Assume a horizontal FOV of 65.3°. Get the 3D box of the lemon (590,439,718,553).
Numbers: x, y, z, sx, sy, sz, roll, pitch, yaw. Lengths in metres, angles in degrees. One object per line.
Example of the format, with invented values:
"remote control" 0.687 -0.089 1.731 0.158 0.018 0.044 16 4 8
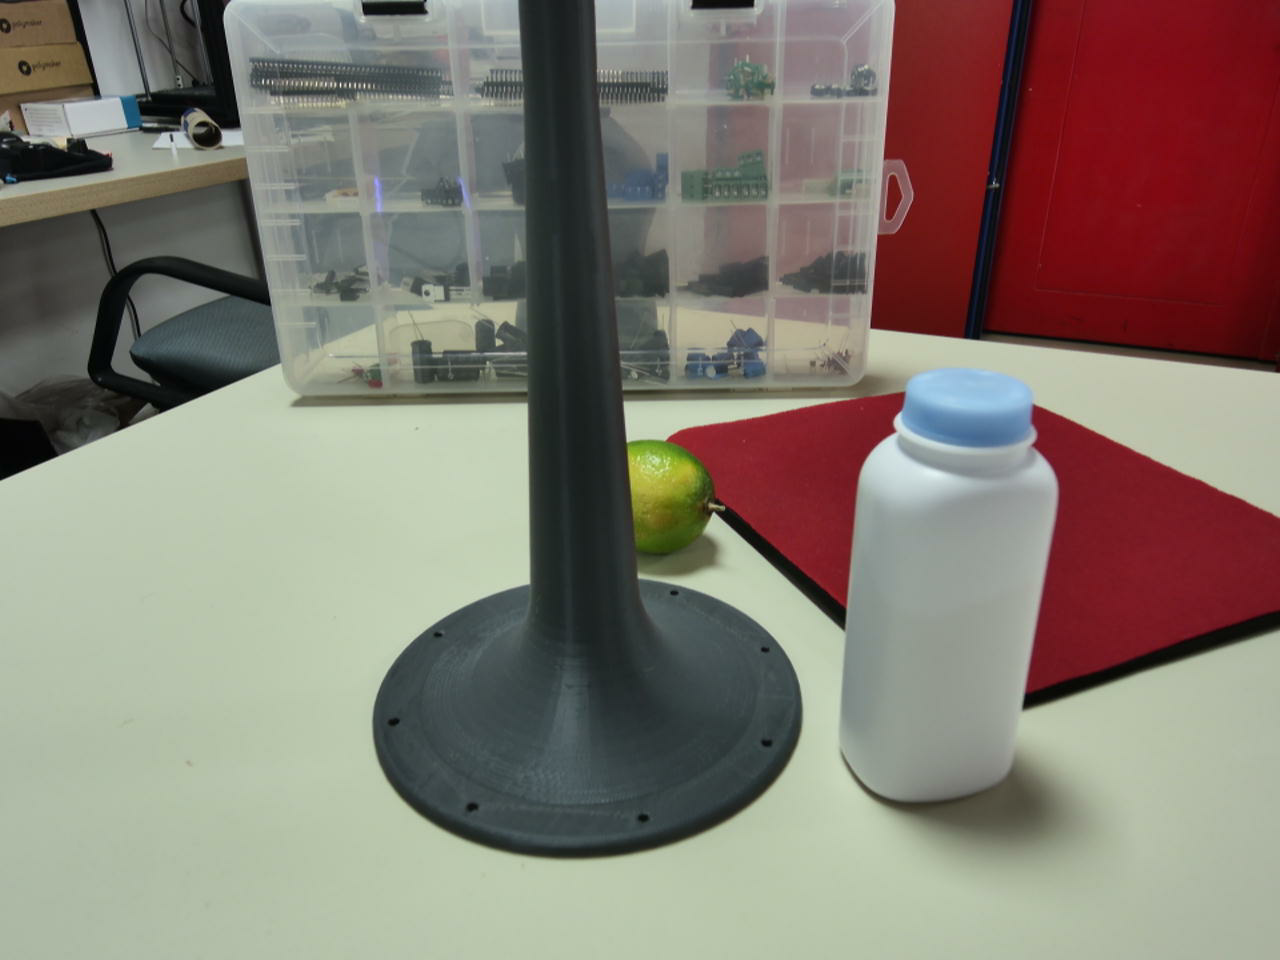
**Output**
"lemon" 0.005 0.007 0.449 0.054 0.050 0.055 -6 24 -13
